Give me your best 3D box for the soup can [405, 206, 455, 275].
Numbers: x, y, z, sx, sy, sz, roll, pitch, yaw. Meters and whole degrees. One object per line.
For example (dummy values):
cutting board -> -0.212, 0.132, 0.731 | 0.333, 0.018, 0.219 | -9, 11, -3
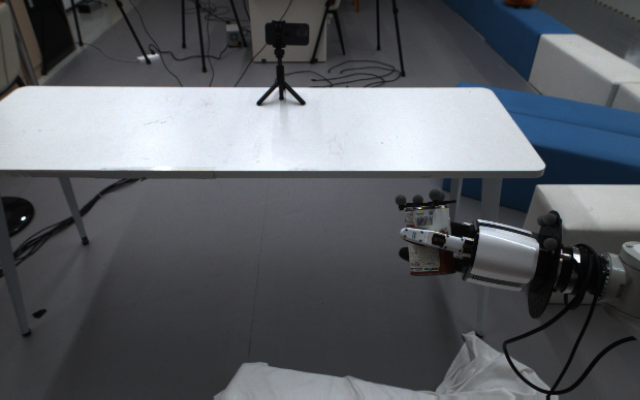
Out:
soup can -> 0.169, 0.061, 0.737 | 0.067, 0.101, 0.067 | -5, -5, 0
